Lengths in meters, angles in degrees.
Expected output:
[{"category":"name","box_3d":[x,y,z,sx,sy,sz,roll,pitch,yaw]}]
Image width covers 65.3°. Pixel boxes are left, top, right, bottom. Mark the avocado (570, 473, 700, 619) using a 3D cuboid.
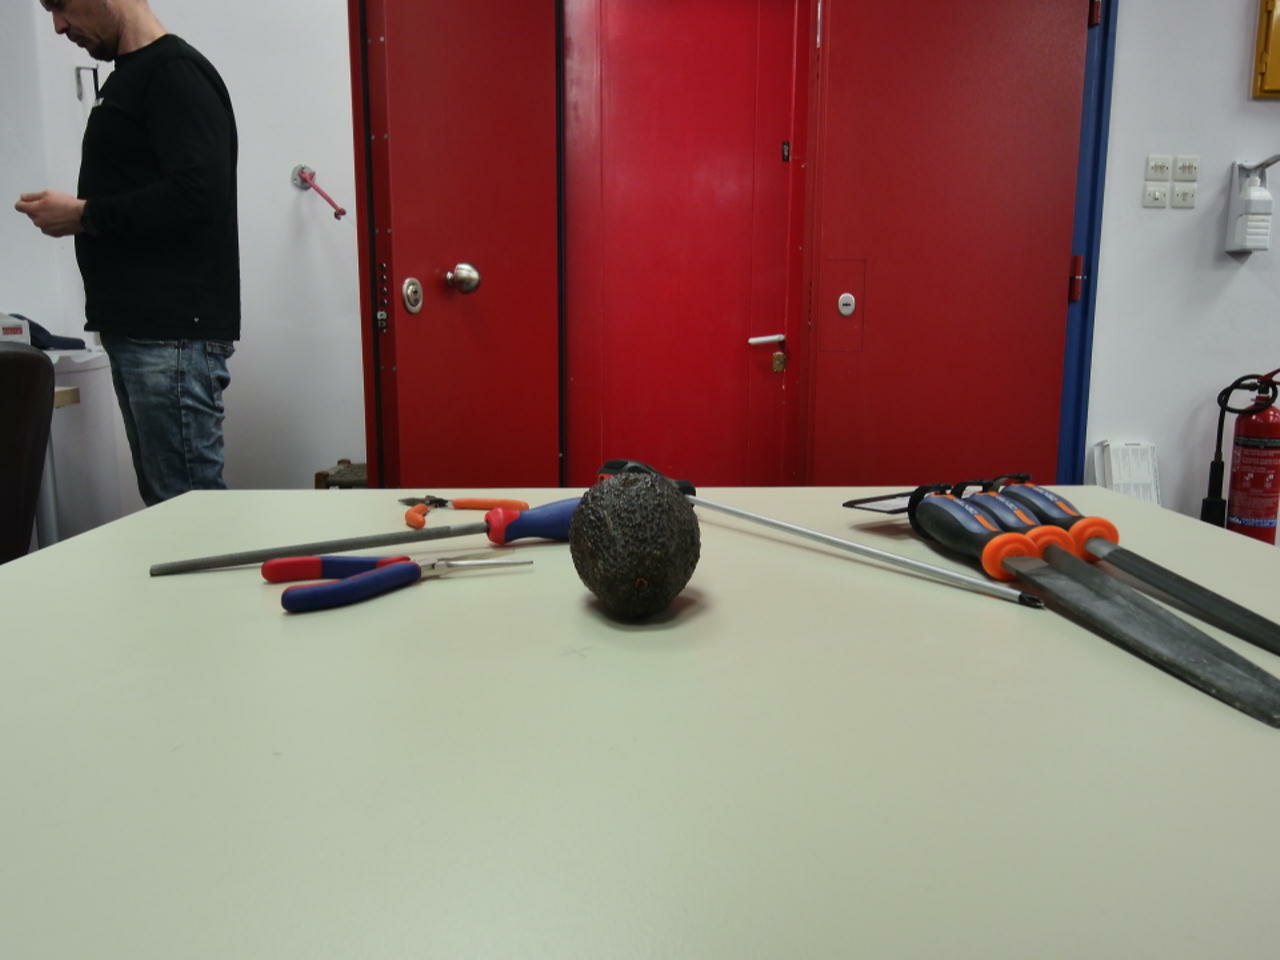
[{"category":"avocado","box_3d":[-0.004,0.031,0.521,0.070,0.069,0.090,4,7,24]}]
